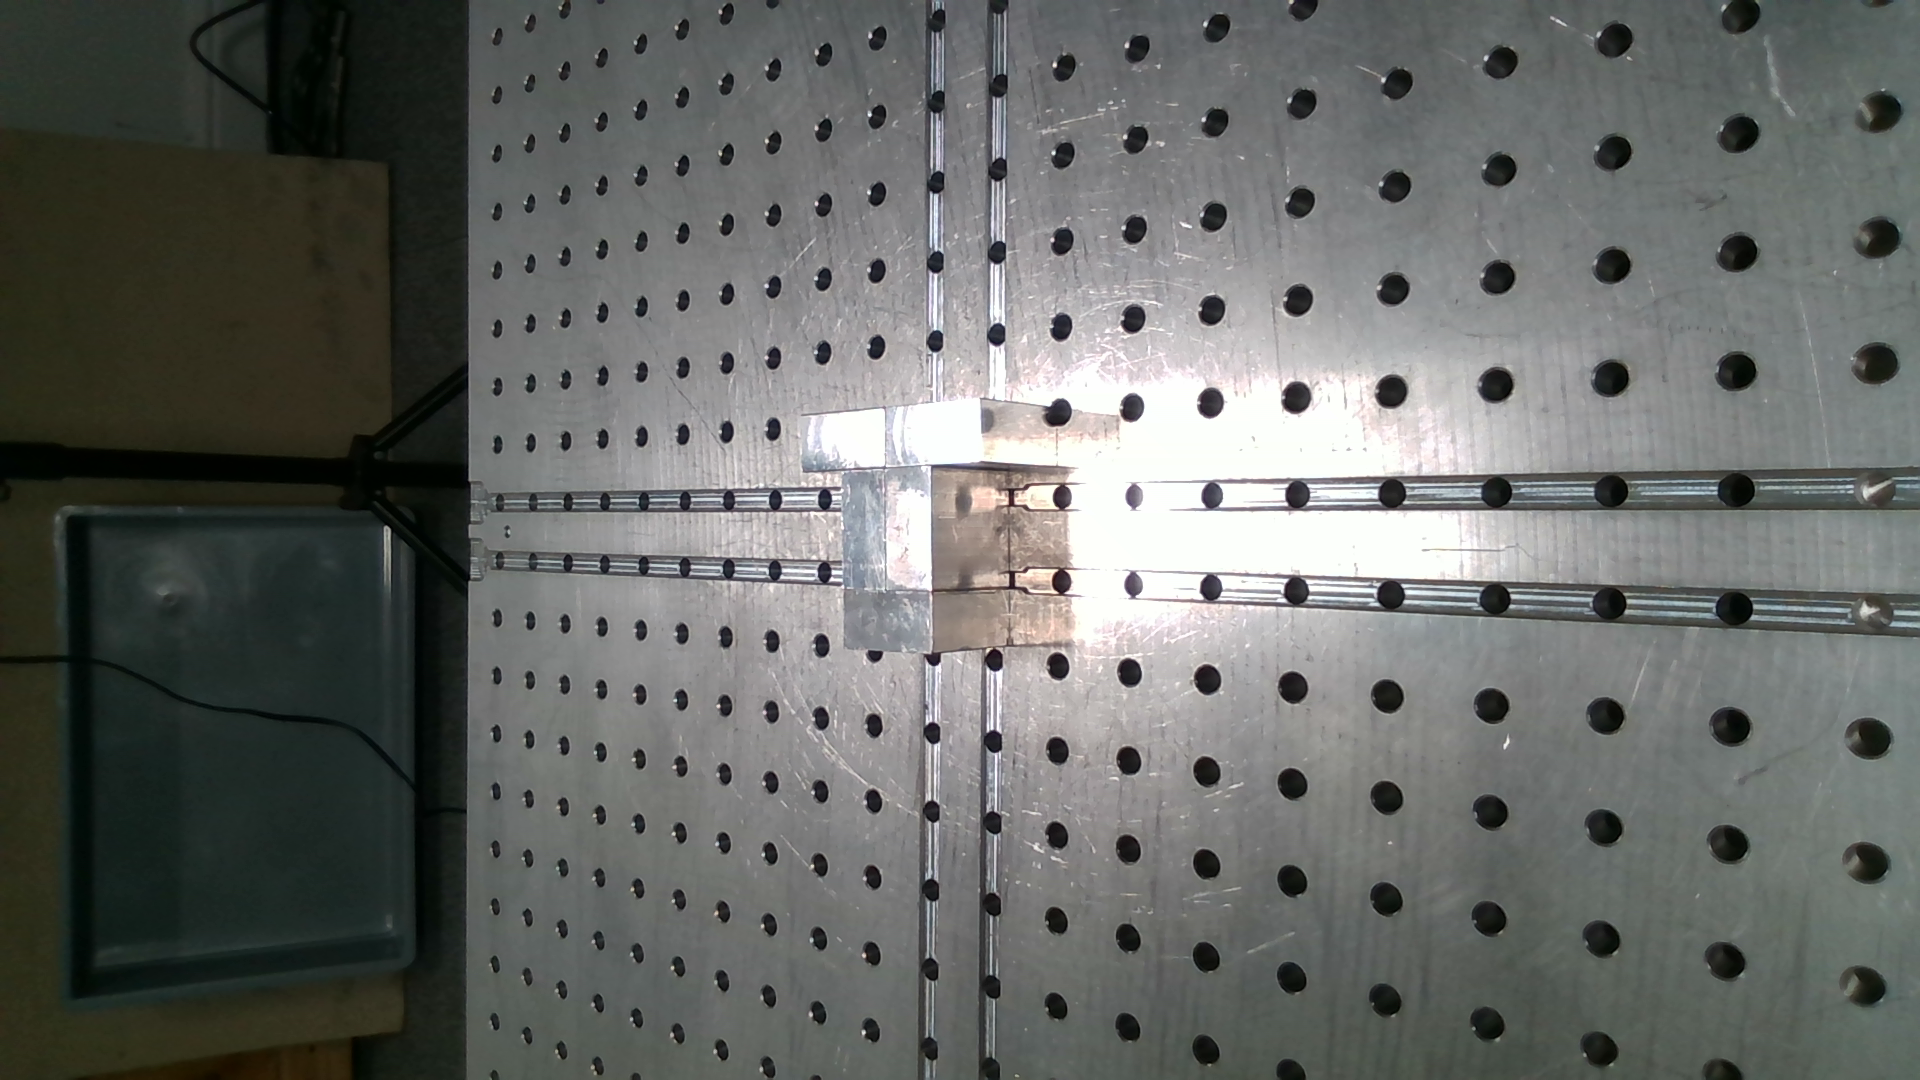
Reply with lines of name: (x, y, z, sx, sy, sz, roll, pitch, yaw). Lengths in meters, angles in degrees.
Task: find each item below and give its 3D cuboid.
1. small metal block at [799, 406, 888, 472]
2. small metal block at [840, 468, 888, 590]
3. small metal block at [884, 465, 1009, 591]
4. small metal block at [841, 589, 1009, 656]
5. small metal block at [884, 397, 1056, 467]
small metal block: (-0.034, -0.042, 0.596, 0.050, 0.050, 0.025, 0, 90, 40)
small metal block: (-0.025, -0.005, 0.588, 0.025, 0.050, 0.050, 0, 90, 40)
small metal block: (-0.005, -0.005, 0.572, 0.025, 0.050, 0.050, 0, 90, 40)
small metal block: (-0.015, 0.033, 0.581, 0.050, 0.050, 0.025, 0, 90, 40)
small metal block: (0.004, -0.042, 0.564, 0.050, 0.050, 0.025, 0, 90, 40)
